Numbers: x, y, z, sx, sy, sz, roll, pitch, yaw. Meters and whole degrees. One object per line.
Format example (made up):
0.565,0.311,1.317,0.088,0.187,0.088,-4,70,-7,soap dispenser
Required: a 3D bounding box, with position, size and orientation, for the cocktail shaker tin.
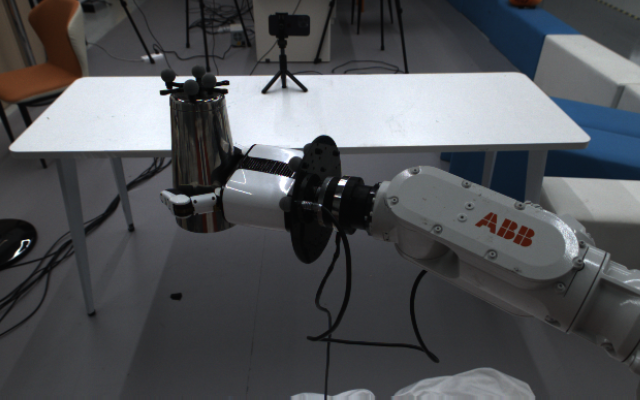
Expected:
-0.149,-0.053,0.627,0.093,0.170,0.093,0,28,0,cocktail shaker tin
